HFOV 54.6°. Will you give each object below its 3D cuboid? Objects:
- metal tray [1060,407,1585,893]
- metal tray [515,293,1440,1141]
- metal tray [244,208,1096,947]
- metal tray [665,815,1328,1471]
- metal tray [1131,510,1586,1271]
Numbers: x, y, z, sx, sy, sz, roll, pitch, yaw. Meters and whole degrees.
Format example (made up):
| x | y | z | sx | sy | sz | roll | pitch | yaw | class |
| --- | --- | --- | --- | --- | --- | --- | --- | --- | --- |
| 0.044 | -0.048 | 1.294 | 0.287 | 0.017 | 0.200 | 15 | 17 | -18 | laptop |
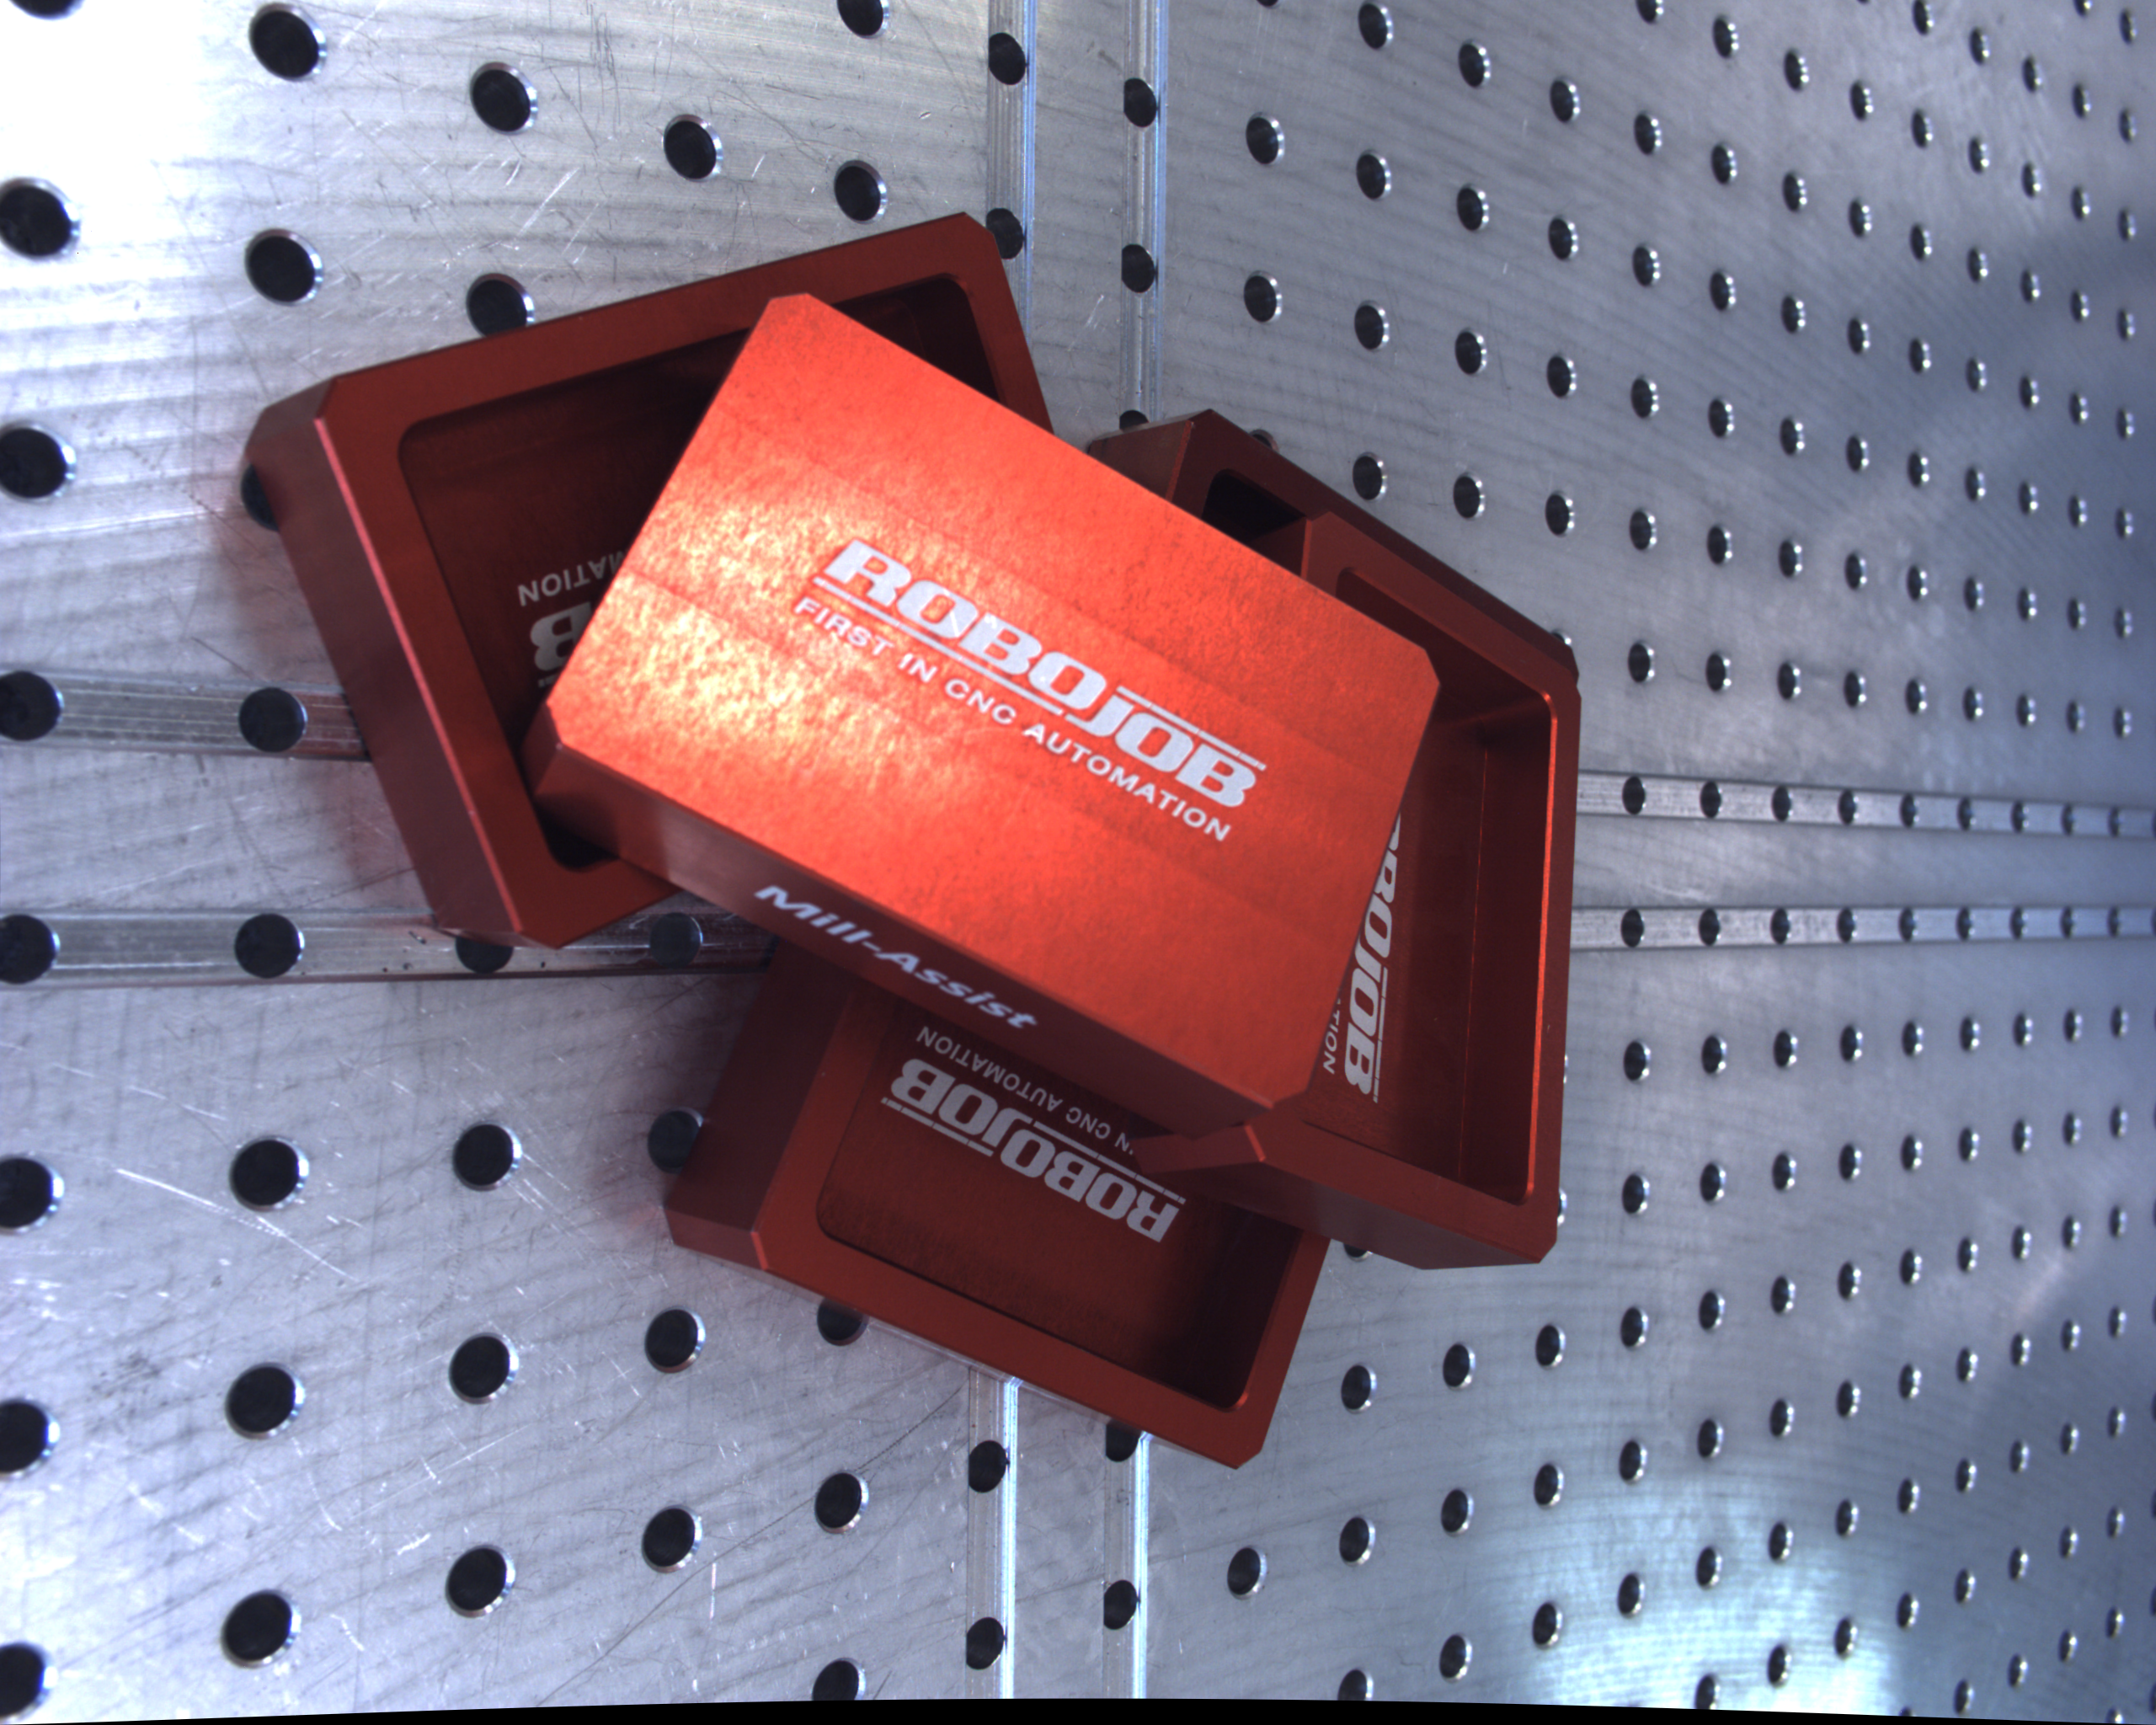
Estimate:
| x | y | z | sx | sy | sz | roll | pitch | yaw | class |
| --- | --- | --- | --- | --- | --- | --- | --- | --- | --- |
| 0.050 | -0.027 | 0.445 | 0.131 | 0.030 | 0.090 | 24 | 75 | -36 | metal tray |
| -0.012 | -0.023 | 0.342 | 0.131 | 0.030 | 0.090 | 28 | 63 | -13 | metal tray |
| -0.059 | -0.051 | 0.355 | 0.131 | 0.030 | 0.090 | -28 | 107 | -36 | metal tray |
| -0.004 | 0.054 | 0.402 | 0.130 | 0.030 | 0.090 | 33 | 70 | -35 | metal tray |
| 0.060 | 0.008 | 0.414 | 0.090 | 0.030 | 0.130 | 25 | 63 | -37 | metal tray |
